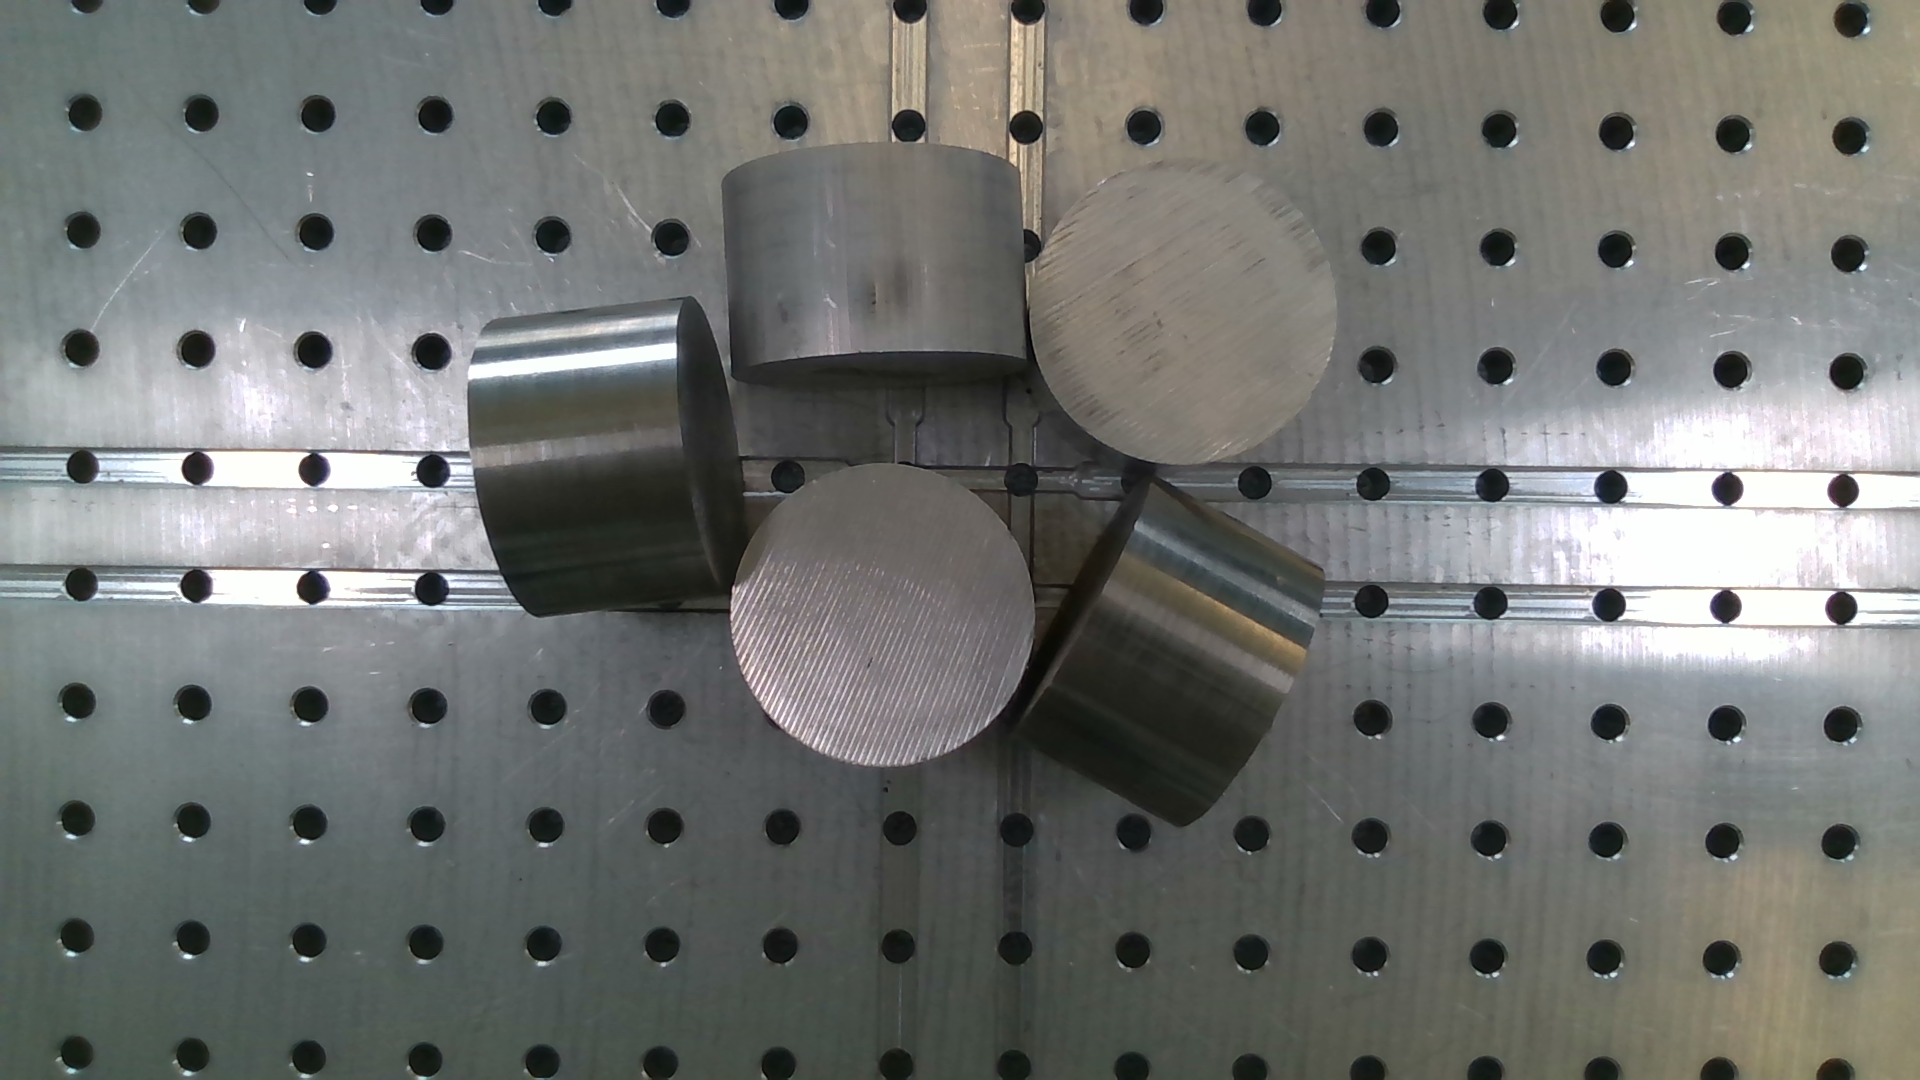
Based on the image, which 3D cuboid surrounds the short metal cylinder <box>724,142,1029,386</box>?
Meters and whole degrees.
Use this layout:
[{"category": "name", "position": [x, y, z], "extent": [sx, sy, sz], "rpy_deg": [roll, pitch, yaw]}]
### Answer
[{"category": "short metal cylinder", "position": [-0.022, -0.071, 0.371], "extent": [0.080, 0.080, 0.050], "rpy_deg": [-2, 90, 0]}]

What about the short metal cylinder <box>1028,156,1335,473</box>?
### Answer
[{"category": "short metal cylinder", "position": [0.058, -0.060, 0.384], "extent": [0.080, 0.050, 0.080], "rpy_deg": [0, 89, 0]}]

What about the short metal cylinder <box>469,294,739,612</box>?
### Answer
[{"category": "short metal cylinder", "position": [-0.092, -0.023, 0.369], "extent": [0.050, 0.080, 0.080], "rpy_deg": [-6, 90, 0]}]

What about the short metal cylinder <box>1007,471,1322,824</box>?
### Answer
[{"category": "short metal cylinder", "position": [0.054, 0.029, 0.370], "extent": [0.050, 0.080, 0.080], "rpy_deg": [28, 90, -1]}]

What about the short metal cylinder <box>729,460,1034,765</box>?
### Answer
[{"category": "short metal cylinder", "position": [-0.020, 0.019, 0.385], "extent": [0.080, 0.050, 0.080], "rpy_deg": [0, 91, 0]}]
